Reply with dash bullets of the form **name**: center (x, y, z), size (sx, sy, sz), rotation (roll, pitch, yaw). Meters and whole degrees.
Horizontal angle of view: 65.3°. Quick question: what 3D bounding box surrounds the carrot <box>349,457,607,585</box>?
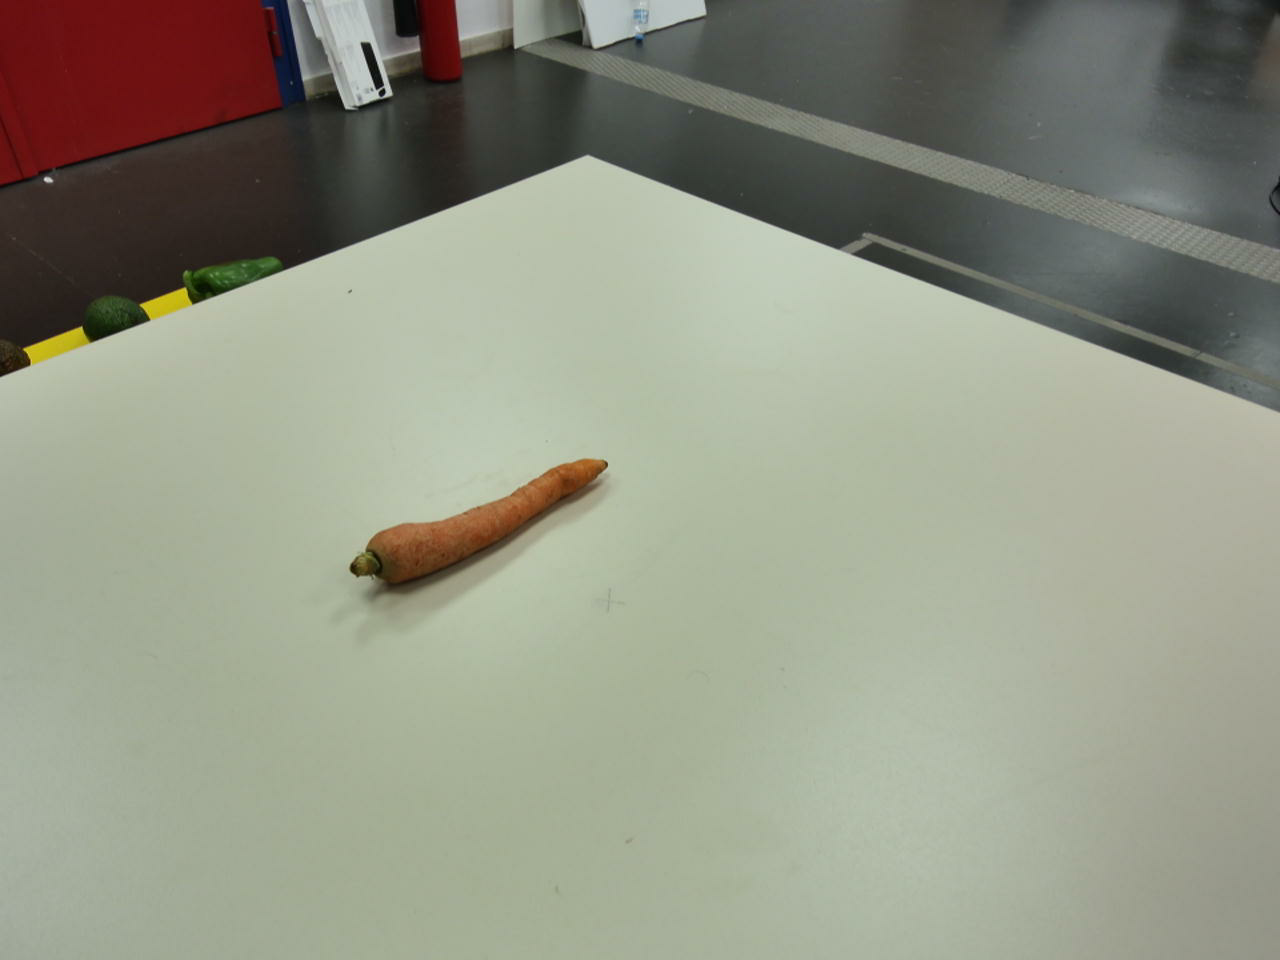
- **carrot**: center (-0.084, 0.019, 0.564), size (0.173, 0.032, 0.030), rotation (-26, 45, -31)
